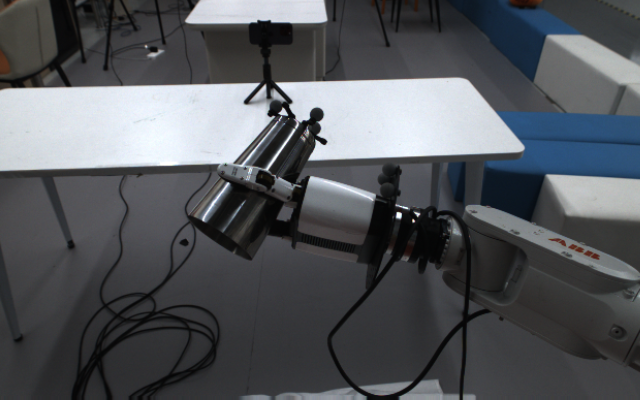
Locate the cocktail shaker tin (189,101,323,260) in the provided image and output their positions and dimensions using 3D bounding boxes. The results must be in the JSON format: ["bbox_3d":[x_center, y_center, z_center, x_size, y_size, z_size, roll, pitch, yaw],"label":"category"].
[{"bbox_3d":[-0.077,-0.023,0.602,0.093,0.093,0.170,22,67,26],"label":"cocktail shaker tin"}]
